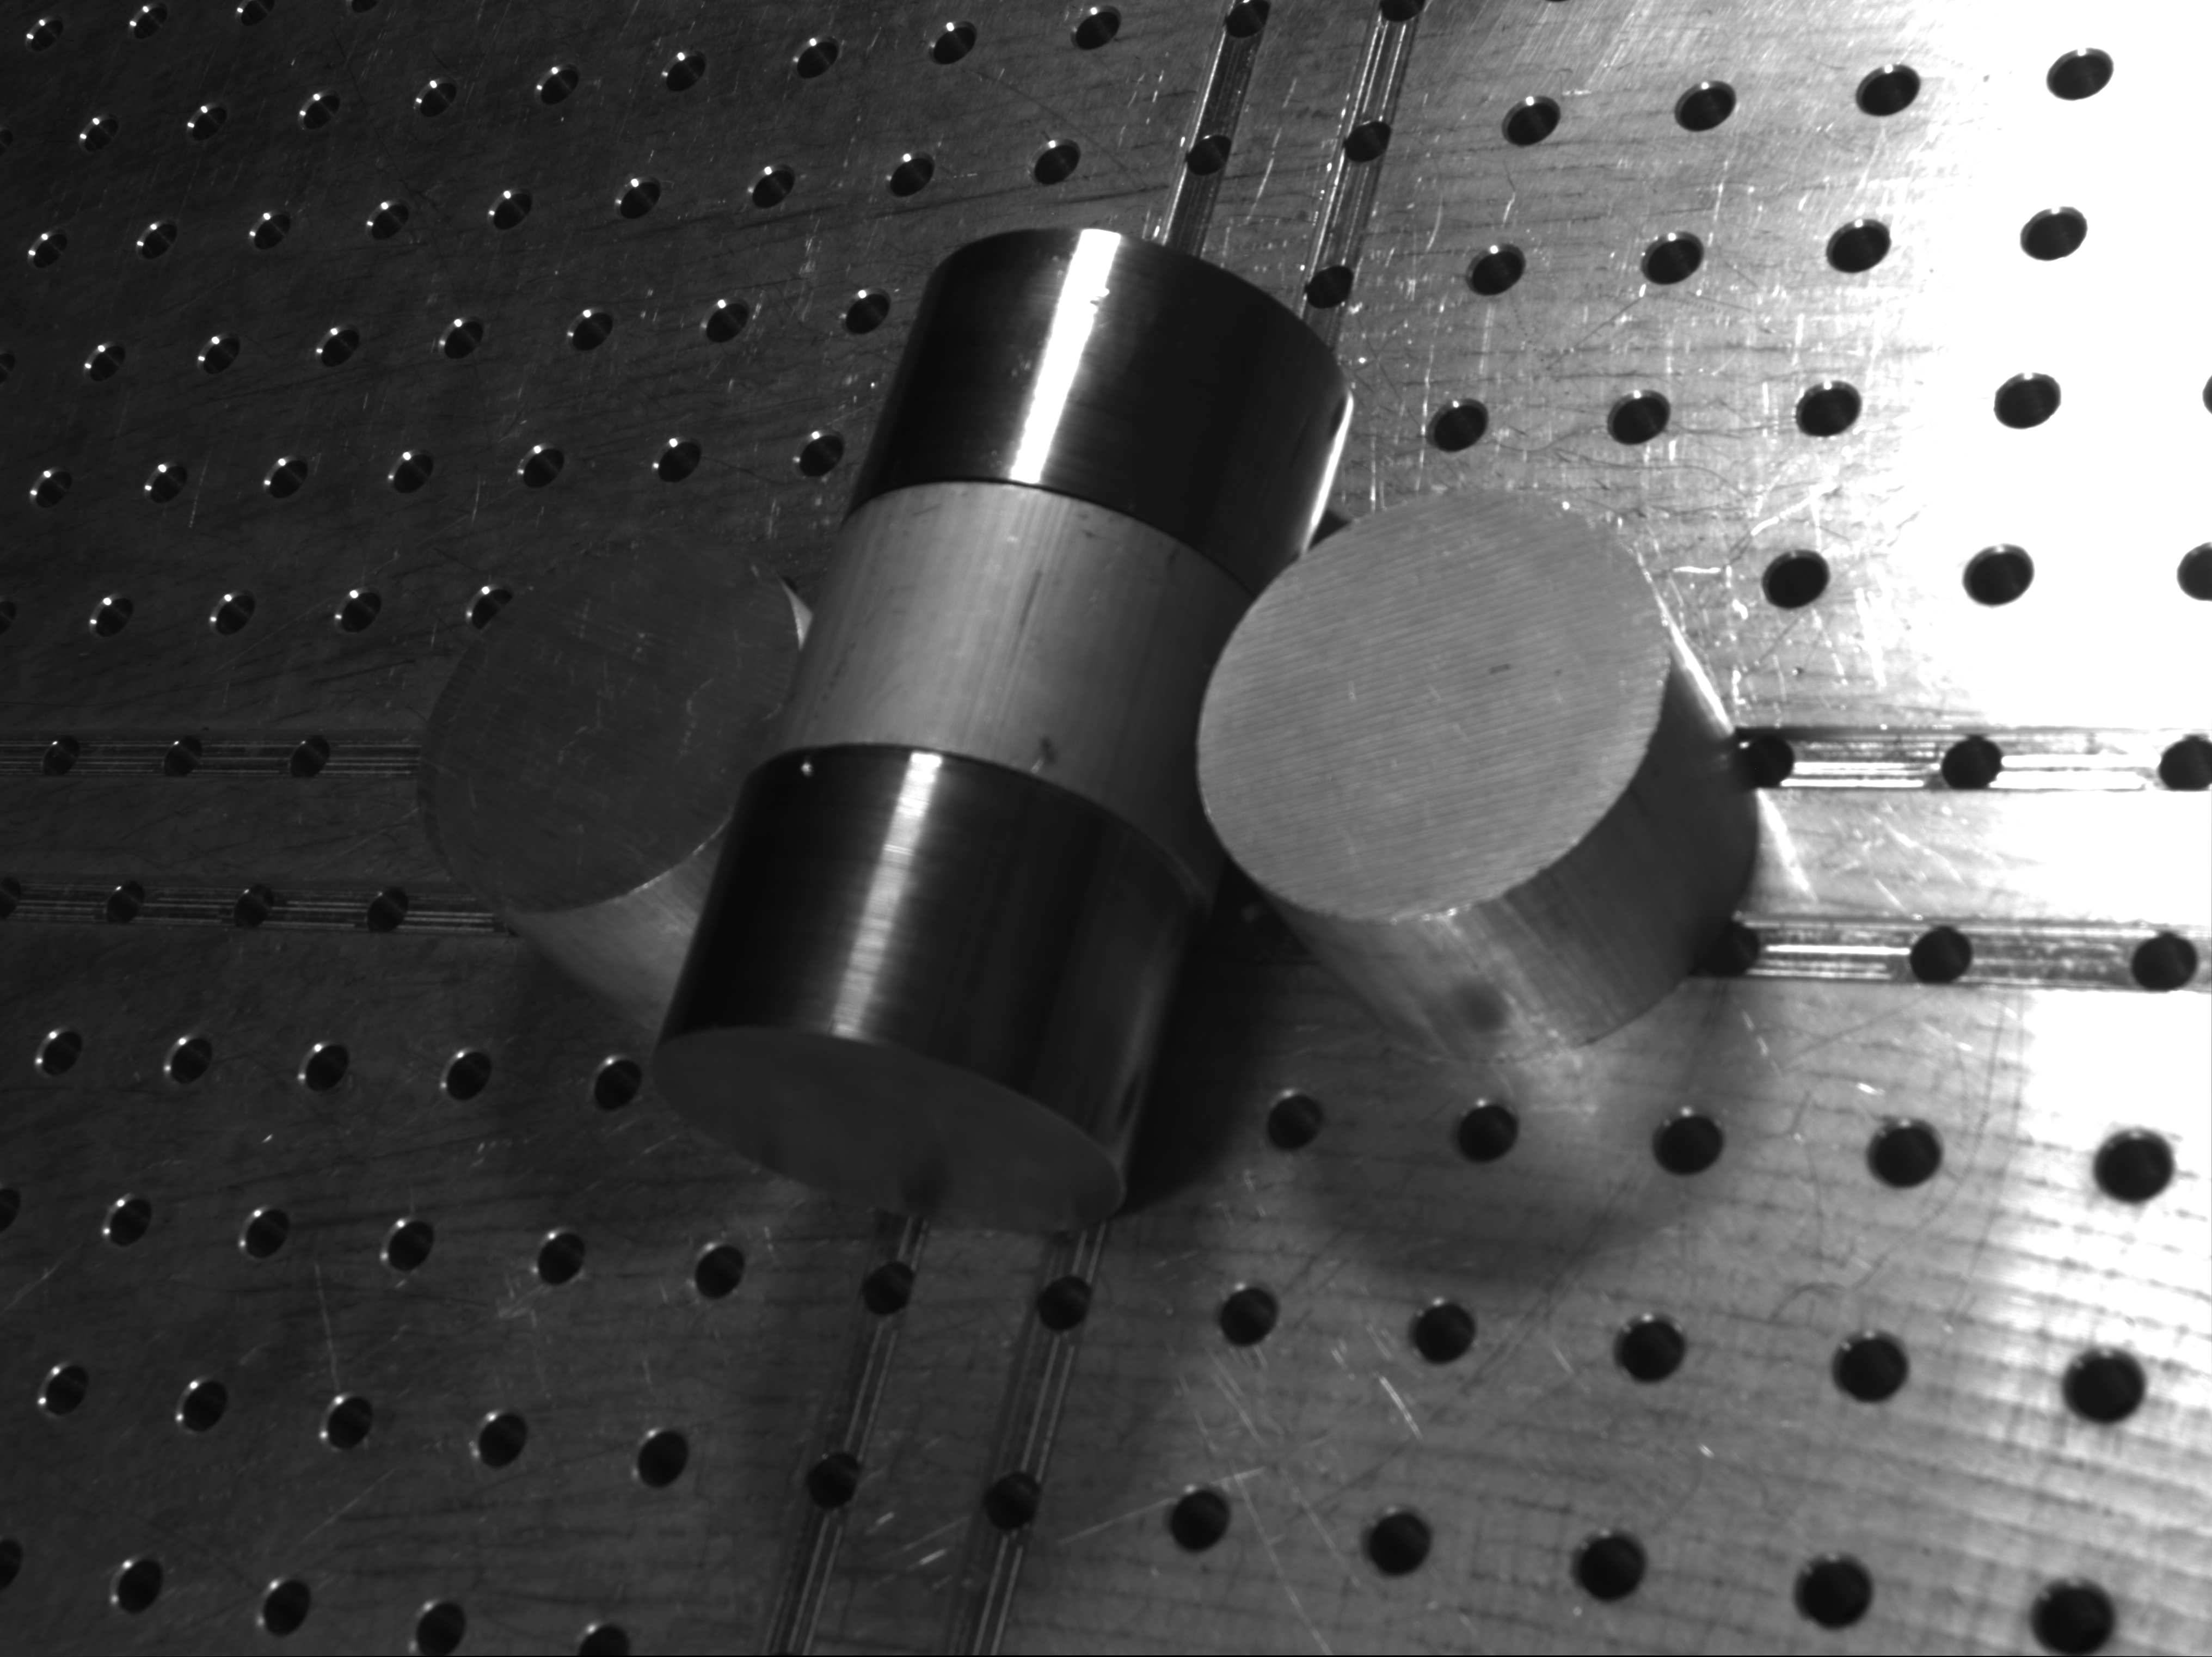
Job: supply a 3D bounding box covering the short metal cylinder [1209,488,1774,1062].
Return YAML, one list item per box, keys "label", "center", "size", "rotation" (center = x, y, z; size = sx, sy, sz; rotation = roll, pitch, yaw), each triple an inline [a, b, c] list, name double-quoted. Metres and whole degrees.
- label: "short metal cylinder"
  center: [0.064, -0.009, 0.601]
  size: [0.080, 0.050, 0.080]
  rotation: [-13, 56, 21]

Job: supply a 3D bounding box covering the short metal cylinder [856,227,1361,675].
- label: "short metal cylinder"
  center: [0.001, -0.062, 0.649]
  size: [0.080, 0.080, 0.050]
  rotation: [3, 63, 30]

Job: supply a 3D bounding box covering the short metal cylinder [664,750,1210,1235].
- label: "short metal cylinder"
  center: [-0.027, 0.029, 0.608]
  size: [0.080, 0.080, 0.050]
  rotation: [1, 62, 29]

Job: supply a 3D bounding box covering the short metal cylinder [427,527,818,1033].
- label: "short metal cylinder"
  center: [-0.078, -0.008, 0.677]
  size: [0.080, 0.050, 0.080]
  rotation: [-13, 56, 21]

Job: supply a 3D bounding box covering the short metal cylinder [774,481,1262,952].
- label: "short metal cylinder"
  center: [-0.013, -0.017, 0.628]
  size: [0.080, 0.080, 0.050]
  rotation: [2, 62, 29]
